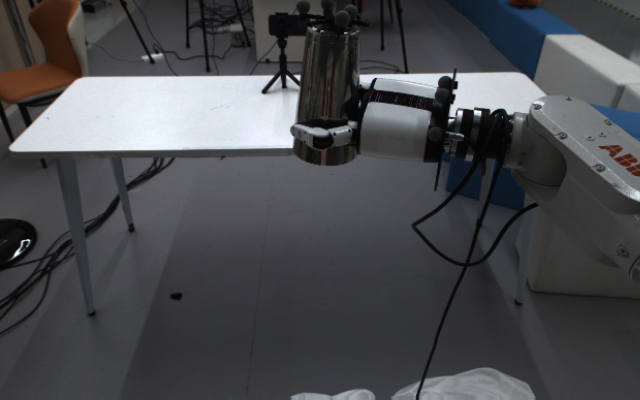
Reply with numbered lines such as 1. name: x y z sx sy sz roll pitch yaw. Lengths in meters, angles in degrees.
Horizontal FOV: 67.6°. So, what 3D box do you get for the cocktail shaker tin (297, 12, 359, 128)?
1. cocktail shaker tin: 0.013 -0.143 0.639 0.093 0.170 0.093 2 34 -2
